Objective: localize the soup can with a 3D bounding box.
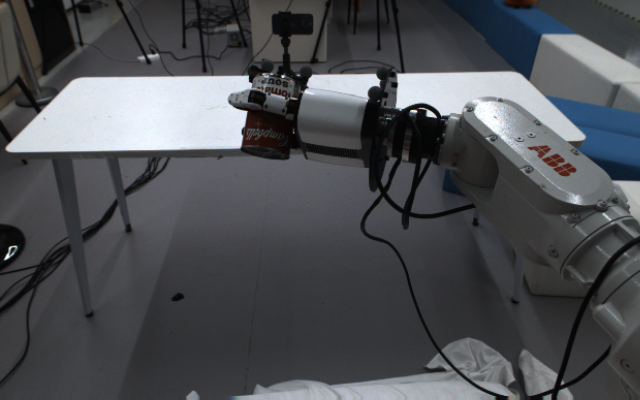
[{"bbox_3d":[-0.066,-0.111,0.654,0.067,0.101,0.067,9,-6,1],"label":"soup can"}]
